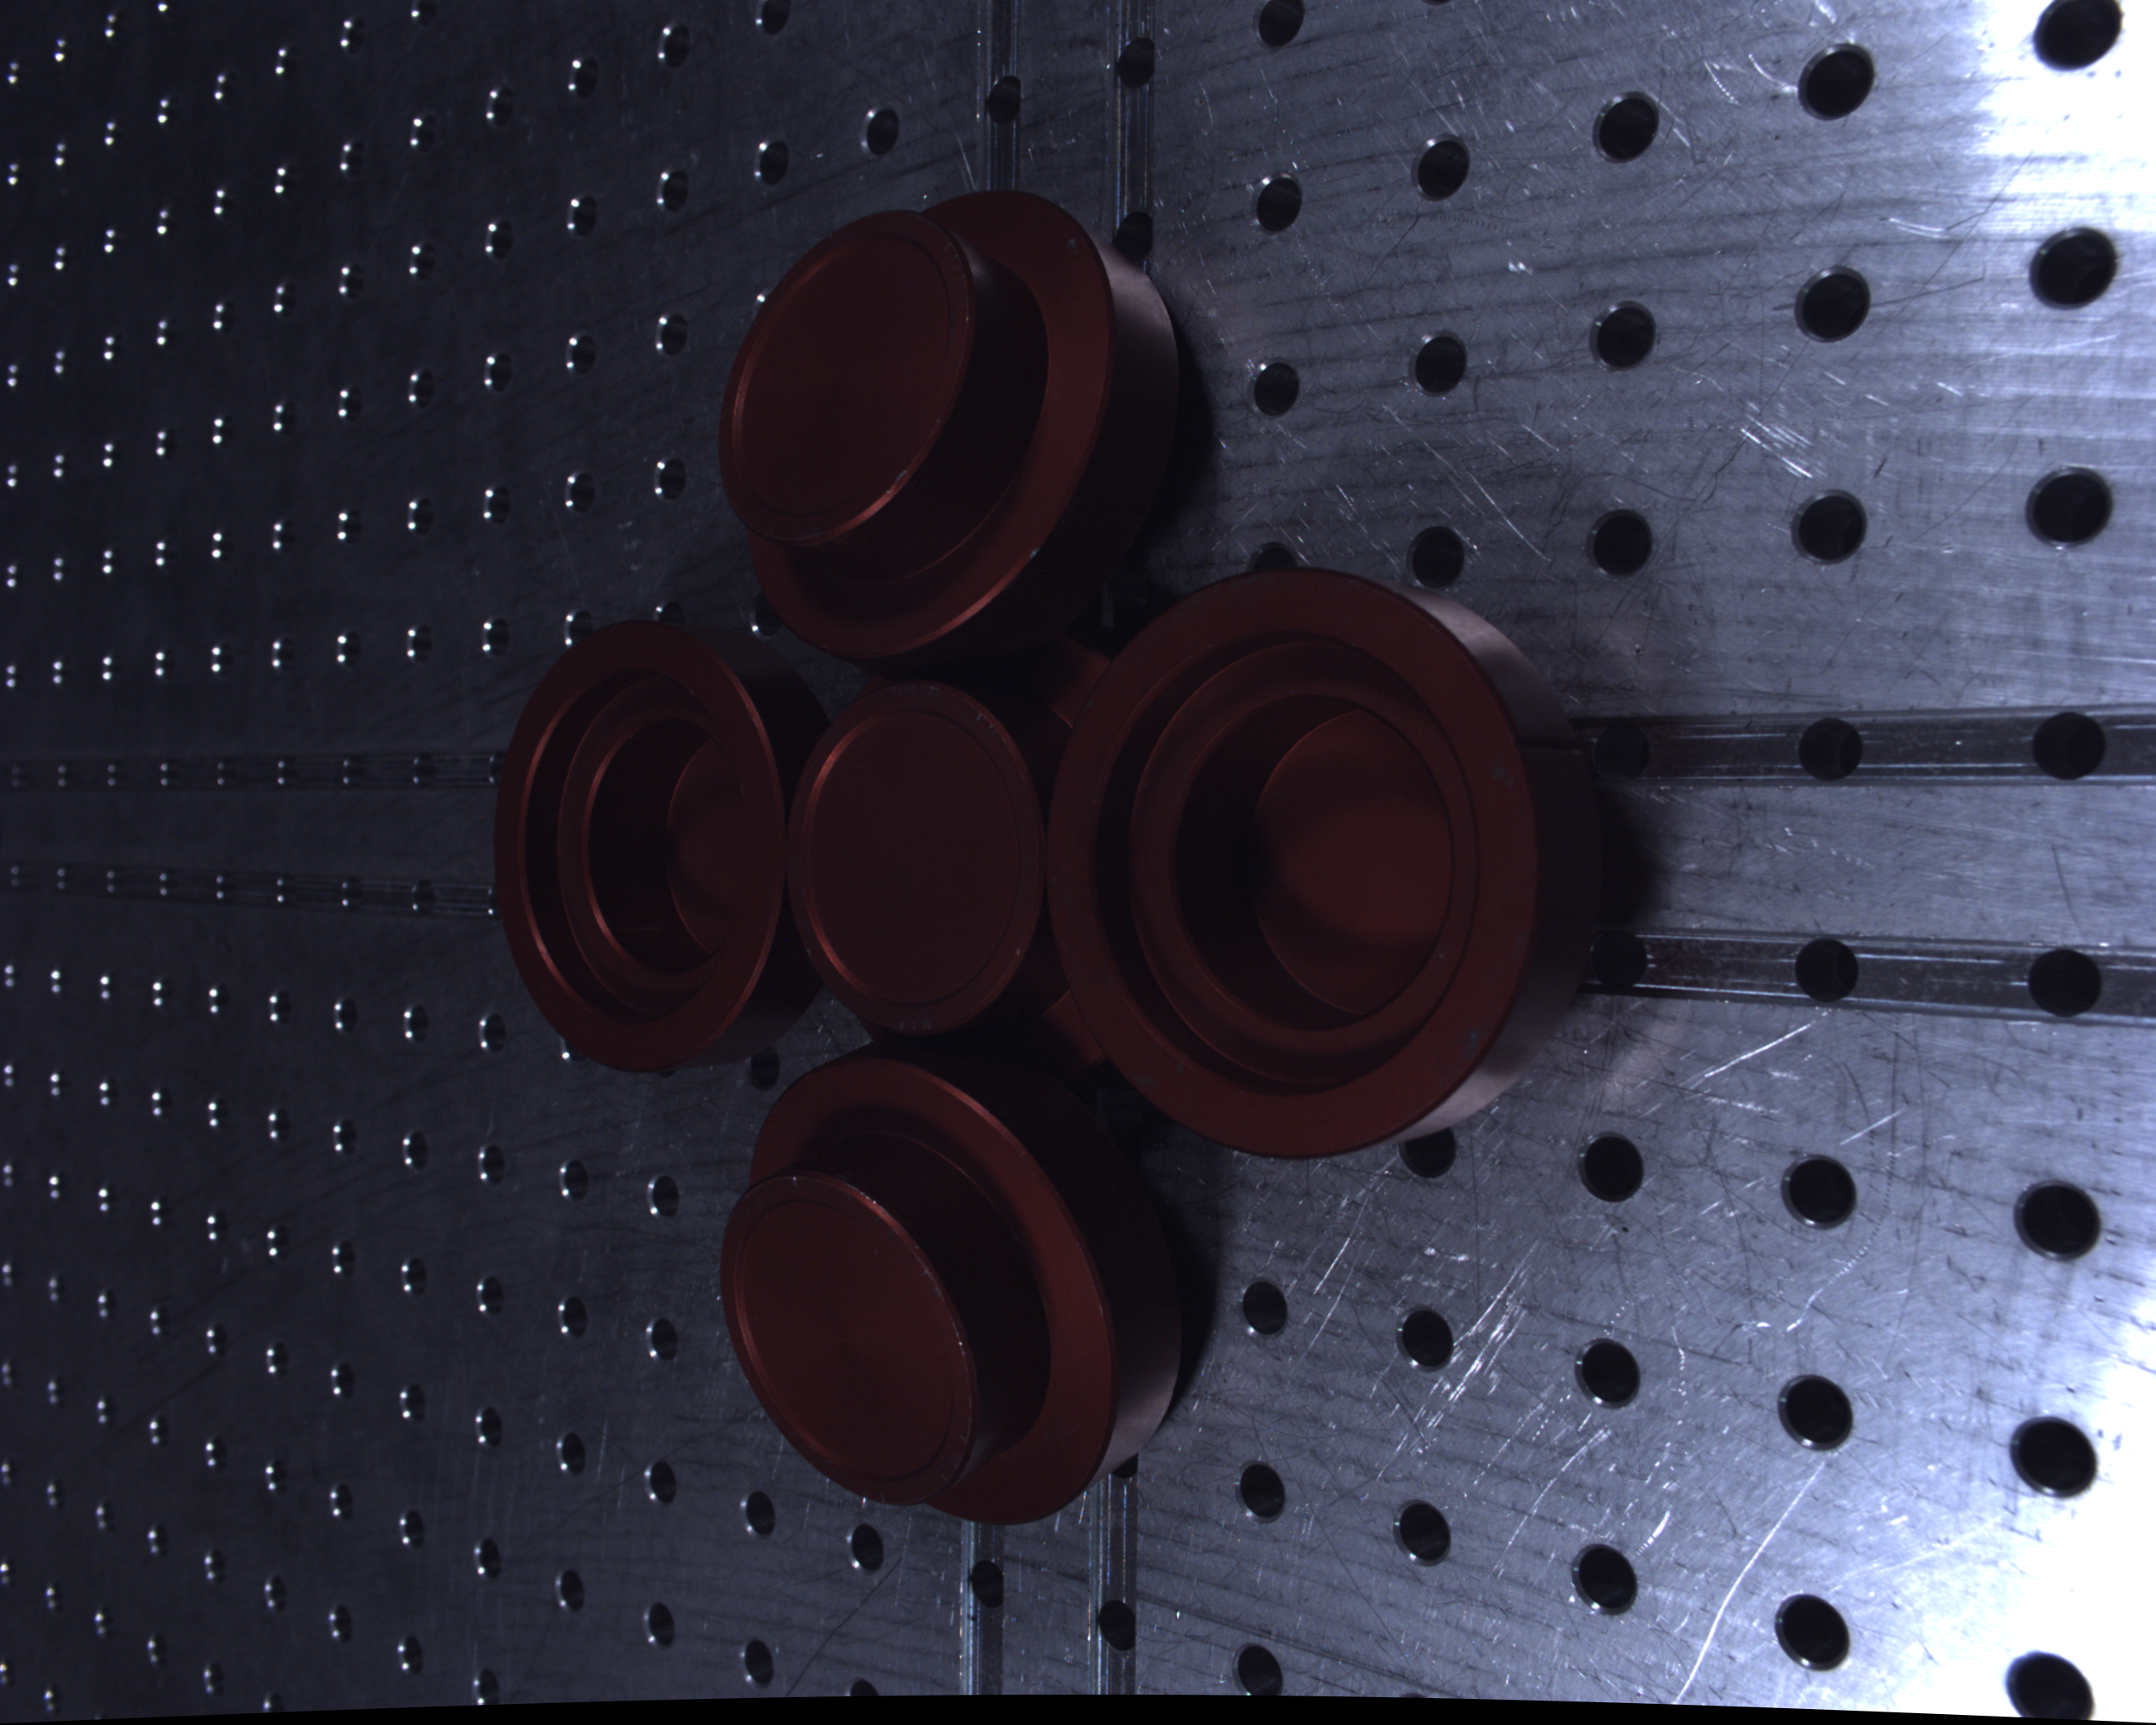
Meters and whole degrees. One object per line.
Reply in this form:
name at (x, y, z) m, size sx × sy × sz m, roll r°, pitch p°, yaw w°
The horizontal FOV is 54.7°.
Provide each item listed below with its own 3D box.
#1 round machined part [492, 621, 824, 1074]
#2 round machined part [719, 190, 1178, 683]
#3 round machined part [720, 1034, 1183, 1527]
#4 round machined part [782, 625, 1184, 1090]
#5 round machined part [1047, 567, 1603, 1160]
round machined part at (-0.084, -0.003, 0.464) m, size 0.098 × 0.042 × 0.097 m, roll 0°, pitch 90°, yaw 39°
round machined part at (-0.032, -0.087, 0.408) m, size 0.098 × 0.042 × 0.098 m, roll -15°, pitch 66°, yaw 37°
round machined part at (-0.031, 0.085, 0.407) m, size 0.098 × 0.042 × 0.097 m, roll 14°, pitch 113°, yaw 36°
round machined part at (-0.020, -0.001, 0.412) m, size 0.098 × 0.042 × 0.097 m, roll 0°, pitch 90°, yaw 39°
round machined part at (0.045, 0.000, 0.359) m, size 0.098 × 0.042 × 0.097 m, roll 0°, pitch 90°, yaw 39°
